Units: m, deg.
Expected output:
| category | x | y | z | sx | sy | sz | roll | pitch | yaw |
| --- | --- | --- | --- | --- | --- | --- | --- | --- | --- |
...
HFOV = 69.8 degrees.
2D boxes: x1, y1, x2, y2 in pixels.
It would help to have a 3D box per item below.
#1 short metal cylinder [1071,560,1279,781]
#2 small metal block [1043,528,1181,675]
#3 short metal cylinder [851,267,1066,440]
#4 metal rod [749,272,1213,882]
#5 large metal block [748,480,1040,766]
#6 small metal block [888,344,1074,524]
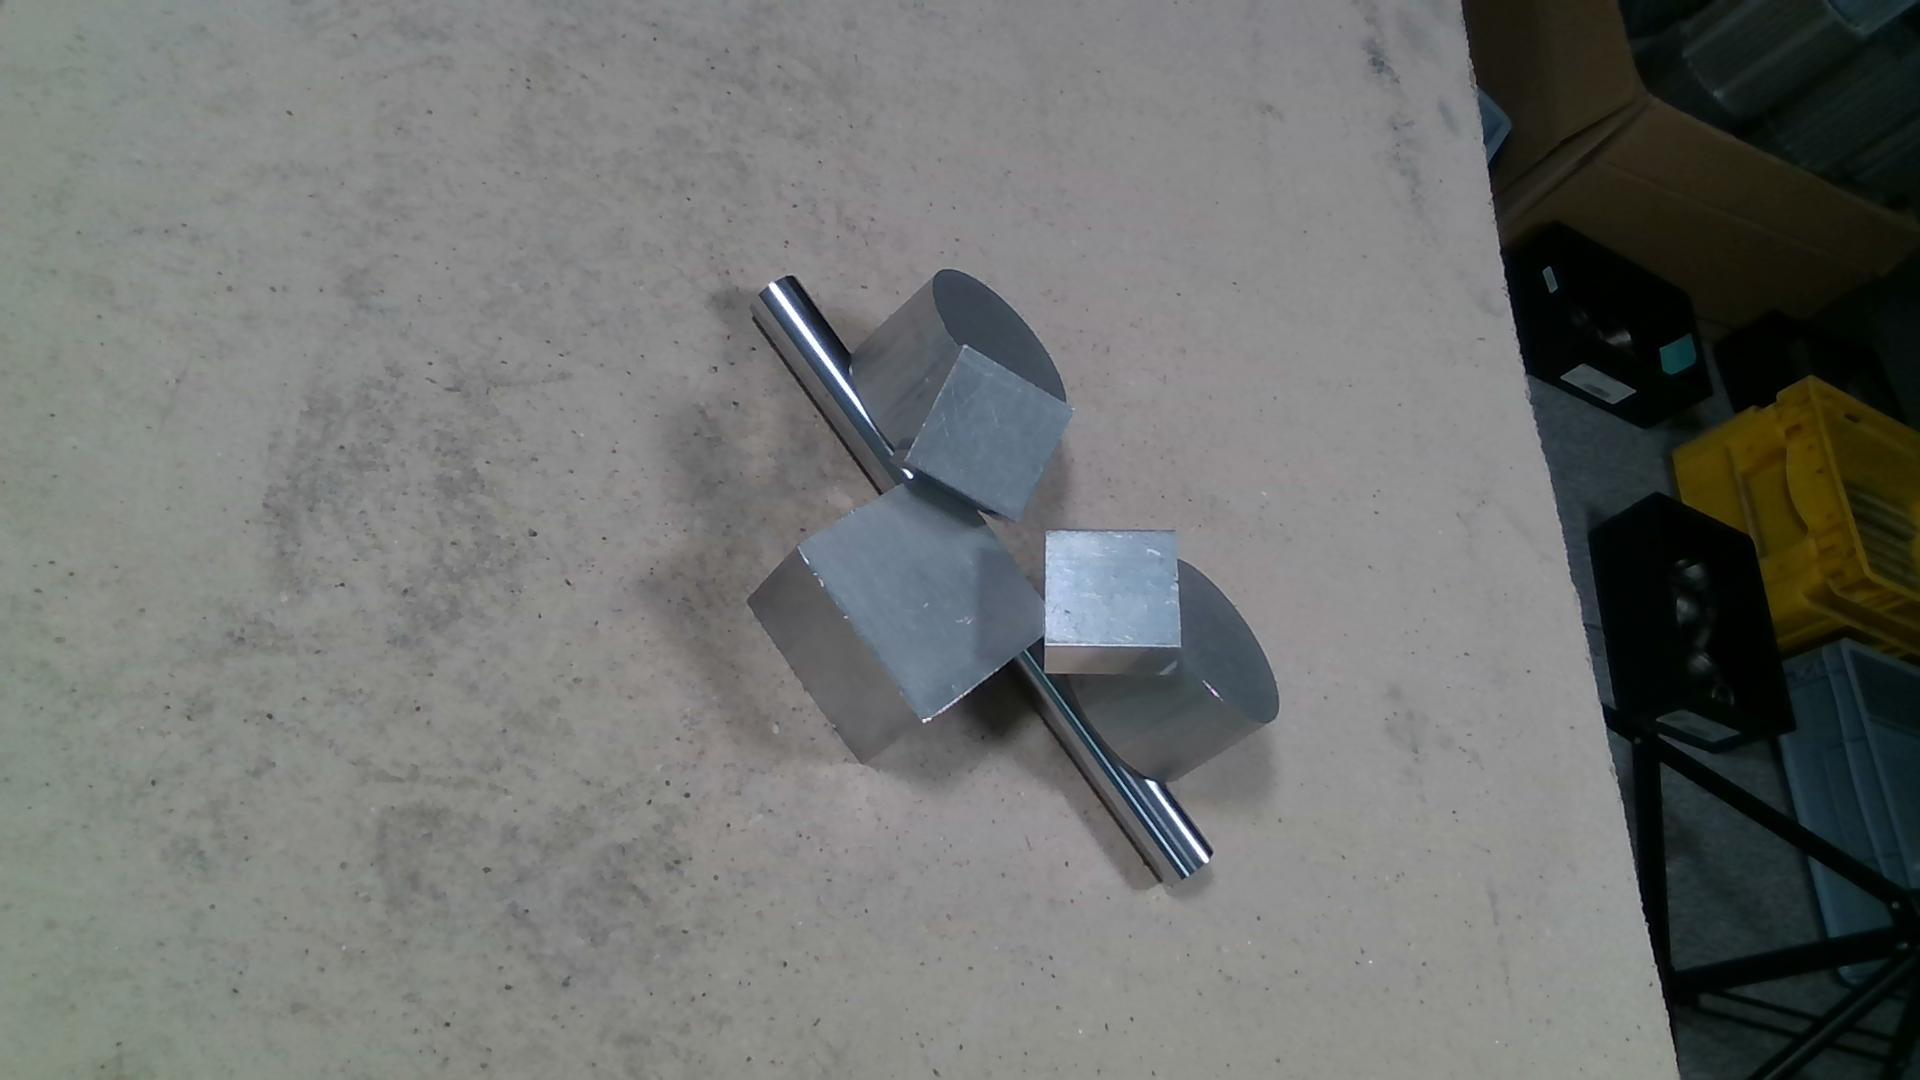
| category | x | y | z | sx | sy | sz | roll | pitch | yaw |
| --- | --- | --- | --- | --- | --- | --- | --- | --- | --- |
| short metal cylinder | 0.088 | 0.053 | 0.577 | 0.080 | 0.050 | 0.080 | 37 | 30 | -26 |
| small metal block | 0.057 | 0.024 | 0.528 | 0.050 | 0.025 | 0.050 | 1 | 61 | 3 |
| short metal cylinder | 0.000 | -0.069 | 0.589 | 0.080 | 0.050 | 0.080 | 37 | 30 | -26 |
| metal rod | 0.007 | 0.014 | 0.583 | 0.025 | 0.025 | 0.300 | -33 | 85 | -39 |
| large metal block | -0.022 | 0.028 | 0.539 | 0.080 | 0.050 | 0.080 | -32 | 84 | -39 |
| small metal block | 0.008 | -0.041 | 0.533 | 0.050 | 0.025 | 0.050 | 28 | 86 | -16 |
